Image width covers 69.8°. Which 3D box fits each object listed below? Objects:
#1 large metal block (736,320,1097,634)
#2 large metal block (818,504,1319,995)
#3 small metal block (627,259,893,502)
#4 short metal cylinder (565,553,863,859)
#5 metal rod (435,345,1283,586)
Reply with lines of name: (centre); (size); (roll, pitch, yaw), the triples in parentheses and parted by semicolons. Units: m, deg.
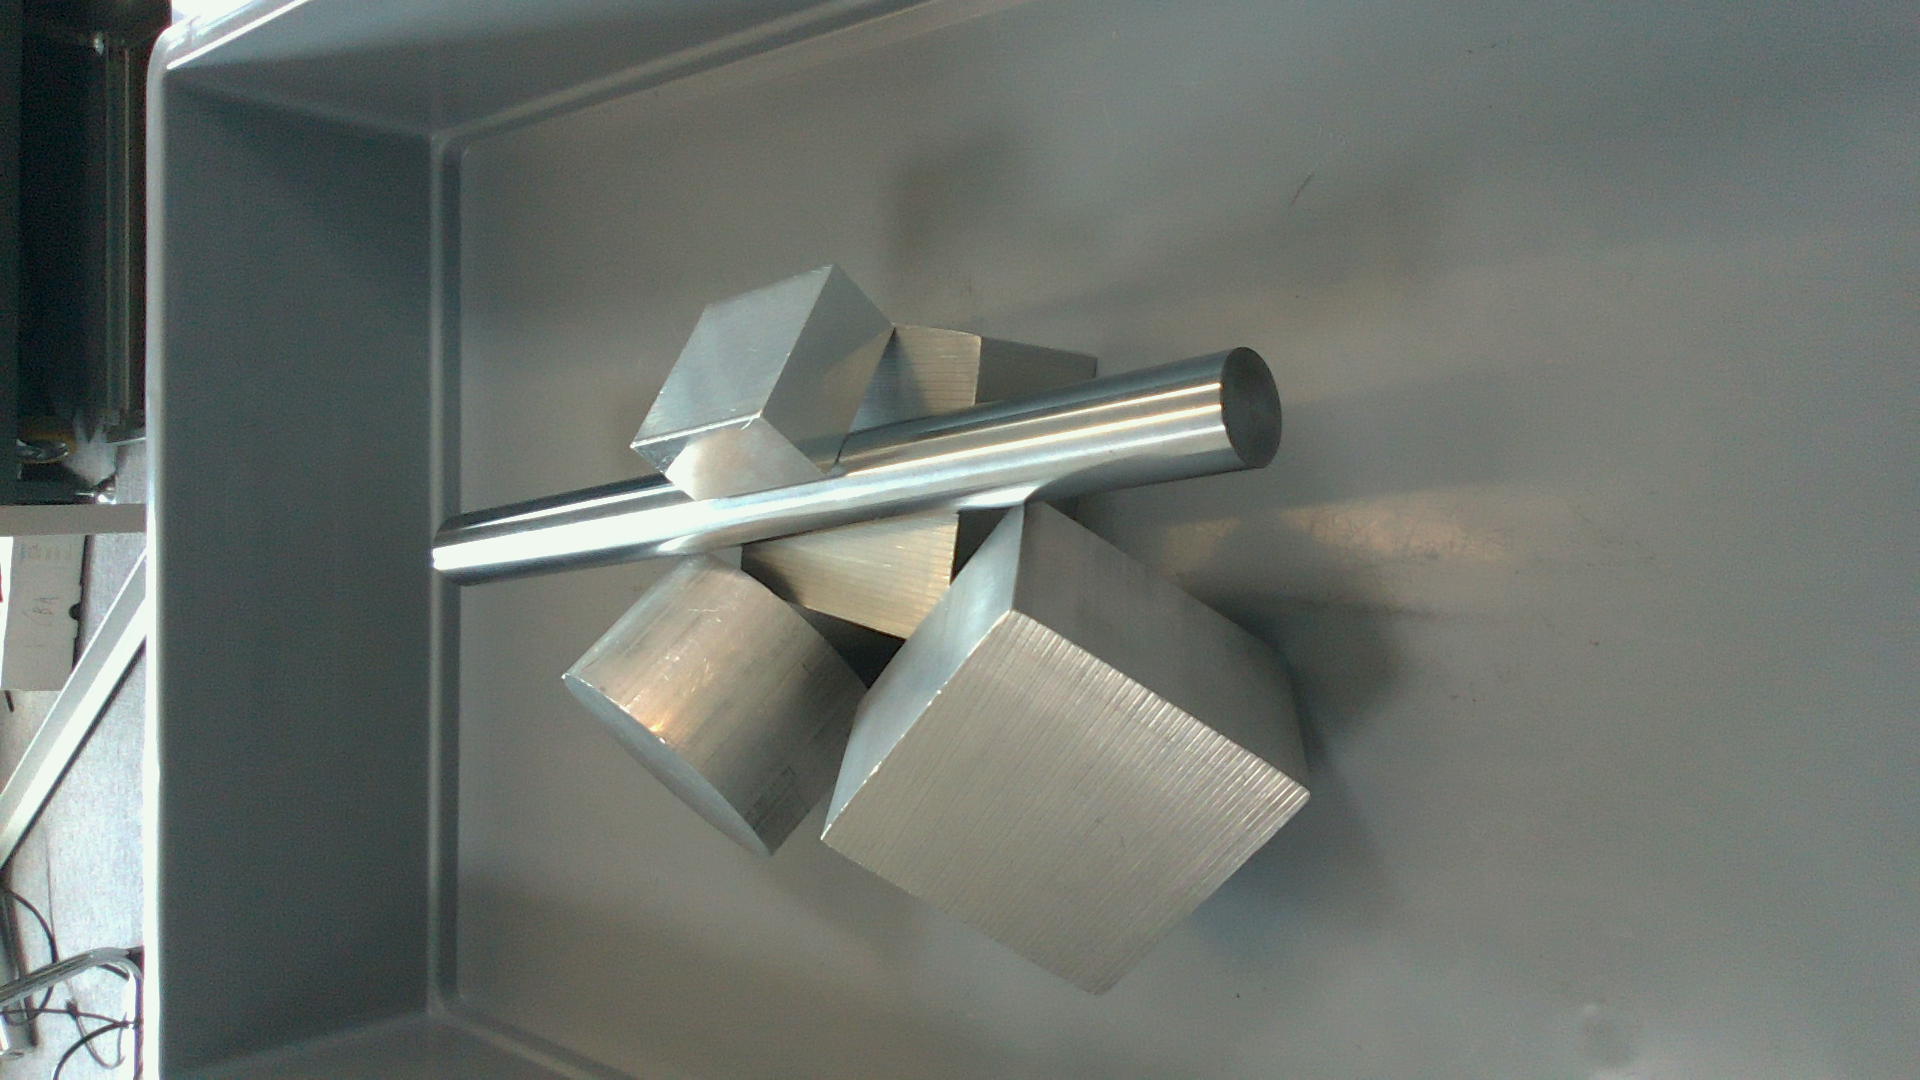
large metal block: (-0.014, -0.020, 0.388); (0.080, 0.050, 0.080); (14, 99, 39)
large metal block: (0.025, 0.049, 0.328); (0.080, 0.050, 0.080); (31, 118, -12)
small metal block: (-0.051, -0.040, 0.355); (0.050, 0.025, 0.050); (-8, 50, 40)
short metal cylinder: (-0.070, 0.049, 0.408); (0.080, 0.080, 0.050); (25, 63, 37)
metal rod: (-0.054, -0.012, 0.373); (0.299, 0.025, 0.025); (-8, 85, 40)
